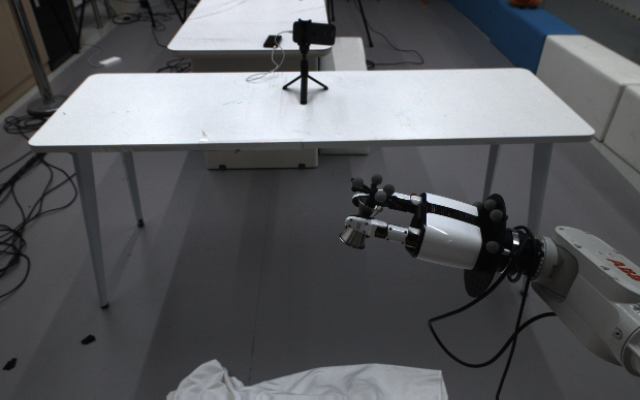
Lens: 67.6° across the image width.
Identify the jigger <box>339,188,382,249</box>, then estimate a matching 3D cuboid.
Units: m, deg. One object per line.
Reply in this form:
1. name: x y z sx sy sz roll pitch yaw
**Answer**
1. jigger: 0.060 0.033 0.727 0.043 0.071 0.043 23 19 -8
